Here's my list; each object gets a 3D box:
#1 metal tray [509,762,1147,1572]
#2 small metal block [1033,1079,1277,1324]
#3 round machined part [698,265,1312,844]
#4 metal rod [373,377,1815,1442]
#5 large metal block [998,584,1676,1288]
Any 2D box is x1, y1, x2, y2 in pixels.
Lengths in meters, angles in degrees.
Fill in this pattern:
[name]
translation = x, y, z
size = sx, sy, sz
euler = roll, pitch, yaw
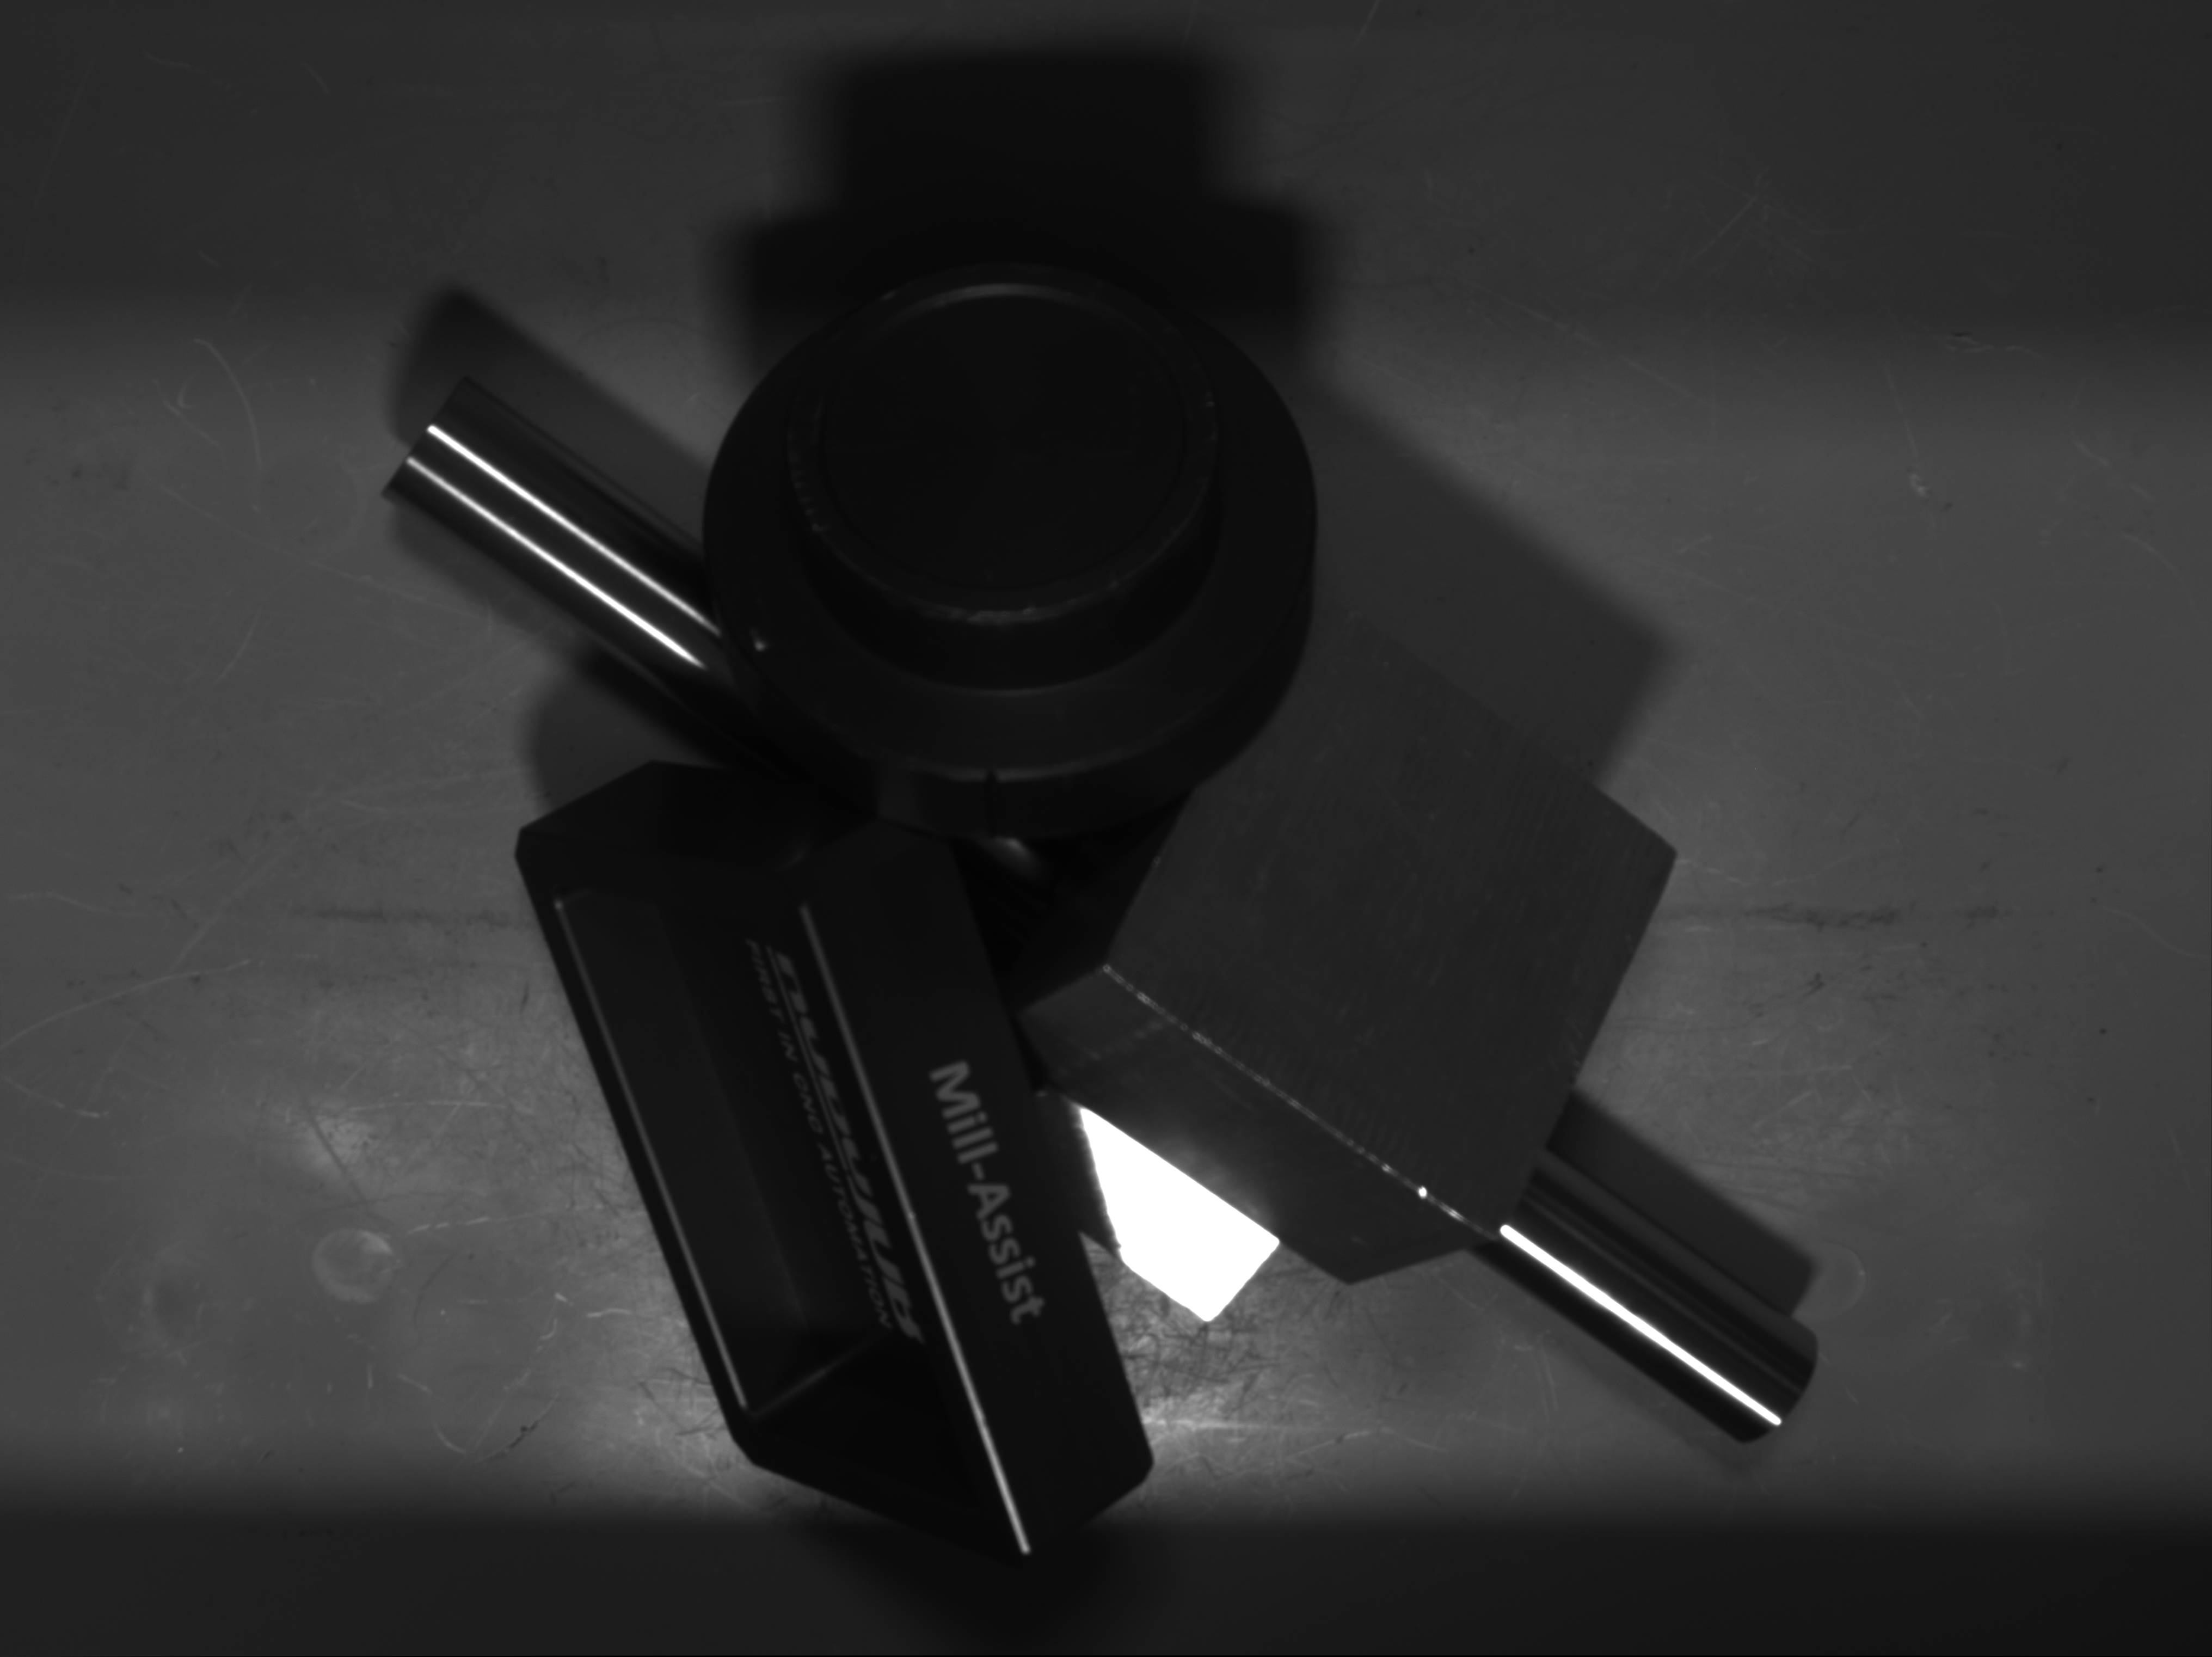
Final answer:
[metal tray]
translation = -0.048, 0.056, 0.629
size = 0.030, 0.090, 0.130
euler = -30, 113, -33
[small metal block]
translation = 0.005, 0.053, 0.648
size = 0.050, 0.050, 0.025
euler = 36, 106, -13
[round machined part]
translation = -0.016, -0.050, 0.583
size = 0.098, 0.098, 0.042
euler = -2, 150, 0
[metal rod]
translation = 0.004, 0.019, 0.649
size = 0.300, 0.025, 0.025
euler = 35, 106, -12
[large metal block]
translation = 0.037, 0.018, 0.615
size = 0.080, 0.050, 0.080
euler = 35, 63, -12
